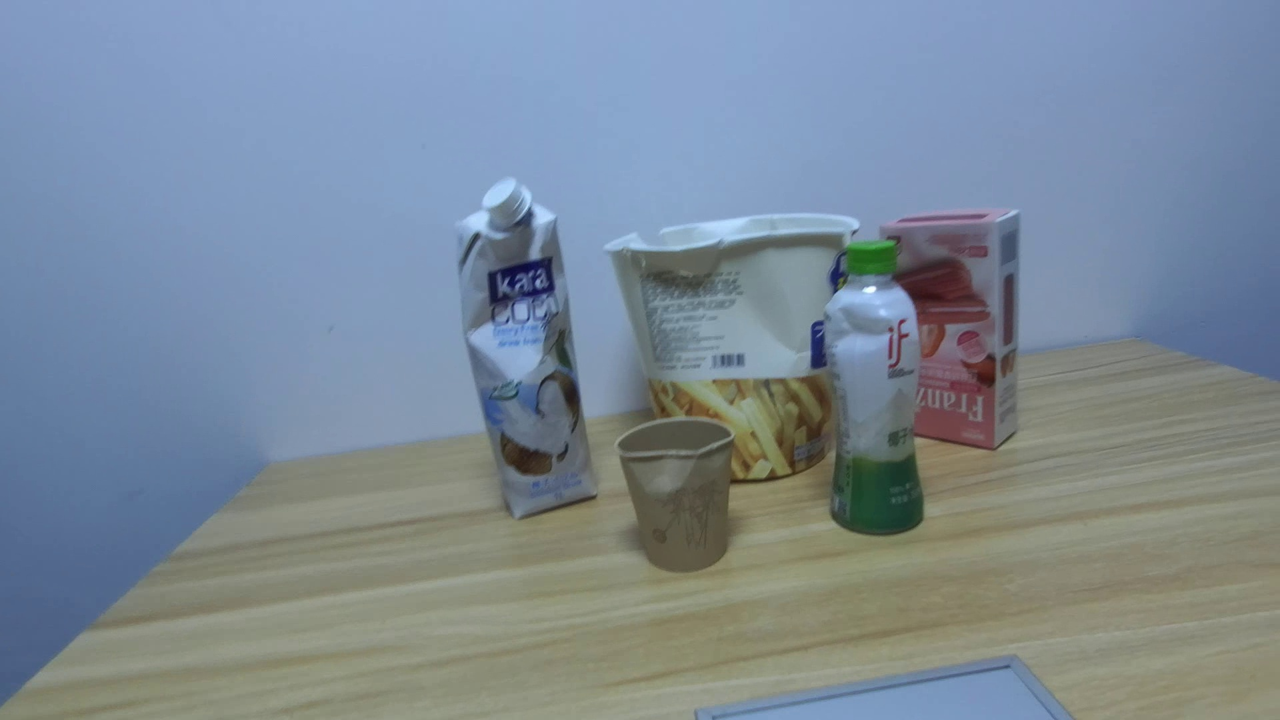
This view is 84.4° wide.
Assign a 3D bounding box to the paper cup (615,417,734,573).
[{"bbox_3d":[0.026,0.089,0.469,0.074,0.081,0.068,-19,18,-37],"label":"paper cup"}]

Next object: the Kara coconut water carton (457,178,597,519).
[{"bbox_3d":[-0.093,-0.009,0.559,0.083,0.255,0.078,-8,17,-5],"label":"Kara coconut water carton"}]

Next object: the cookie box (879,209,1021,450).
[{"bbox_3d":[0.254,-0.027,0.591,0.049,0.187,0.104,-21,20,-41],"label":"cookie box"}]

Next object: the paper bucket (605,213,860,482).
[{"bbox_3d":[0.082,-0.017,0.608,0.202,0.197,0.146,-5,16,8],"label":"paper bucket"}]

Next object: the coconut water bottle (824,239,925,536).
[{"bbox_3d":[0.156,0.018,0.469,0.069,0.186,0.069,-5,15,2],"label":"coconut water bottle"}]
